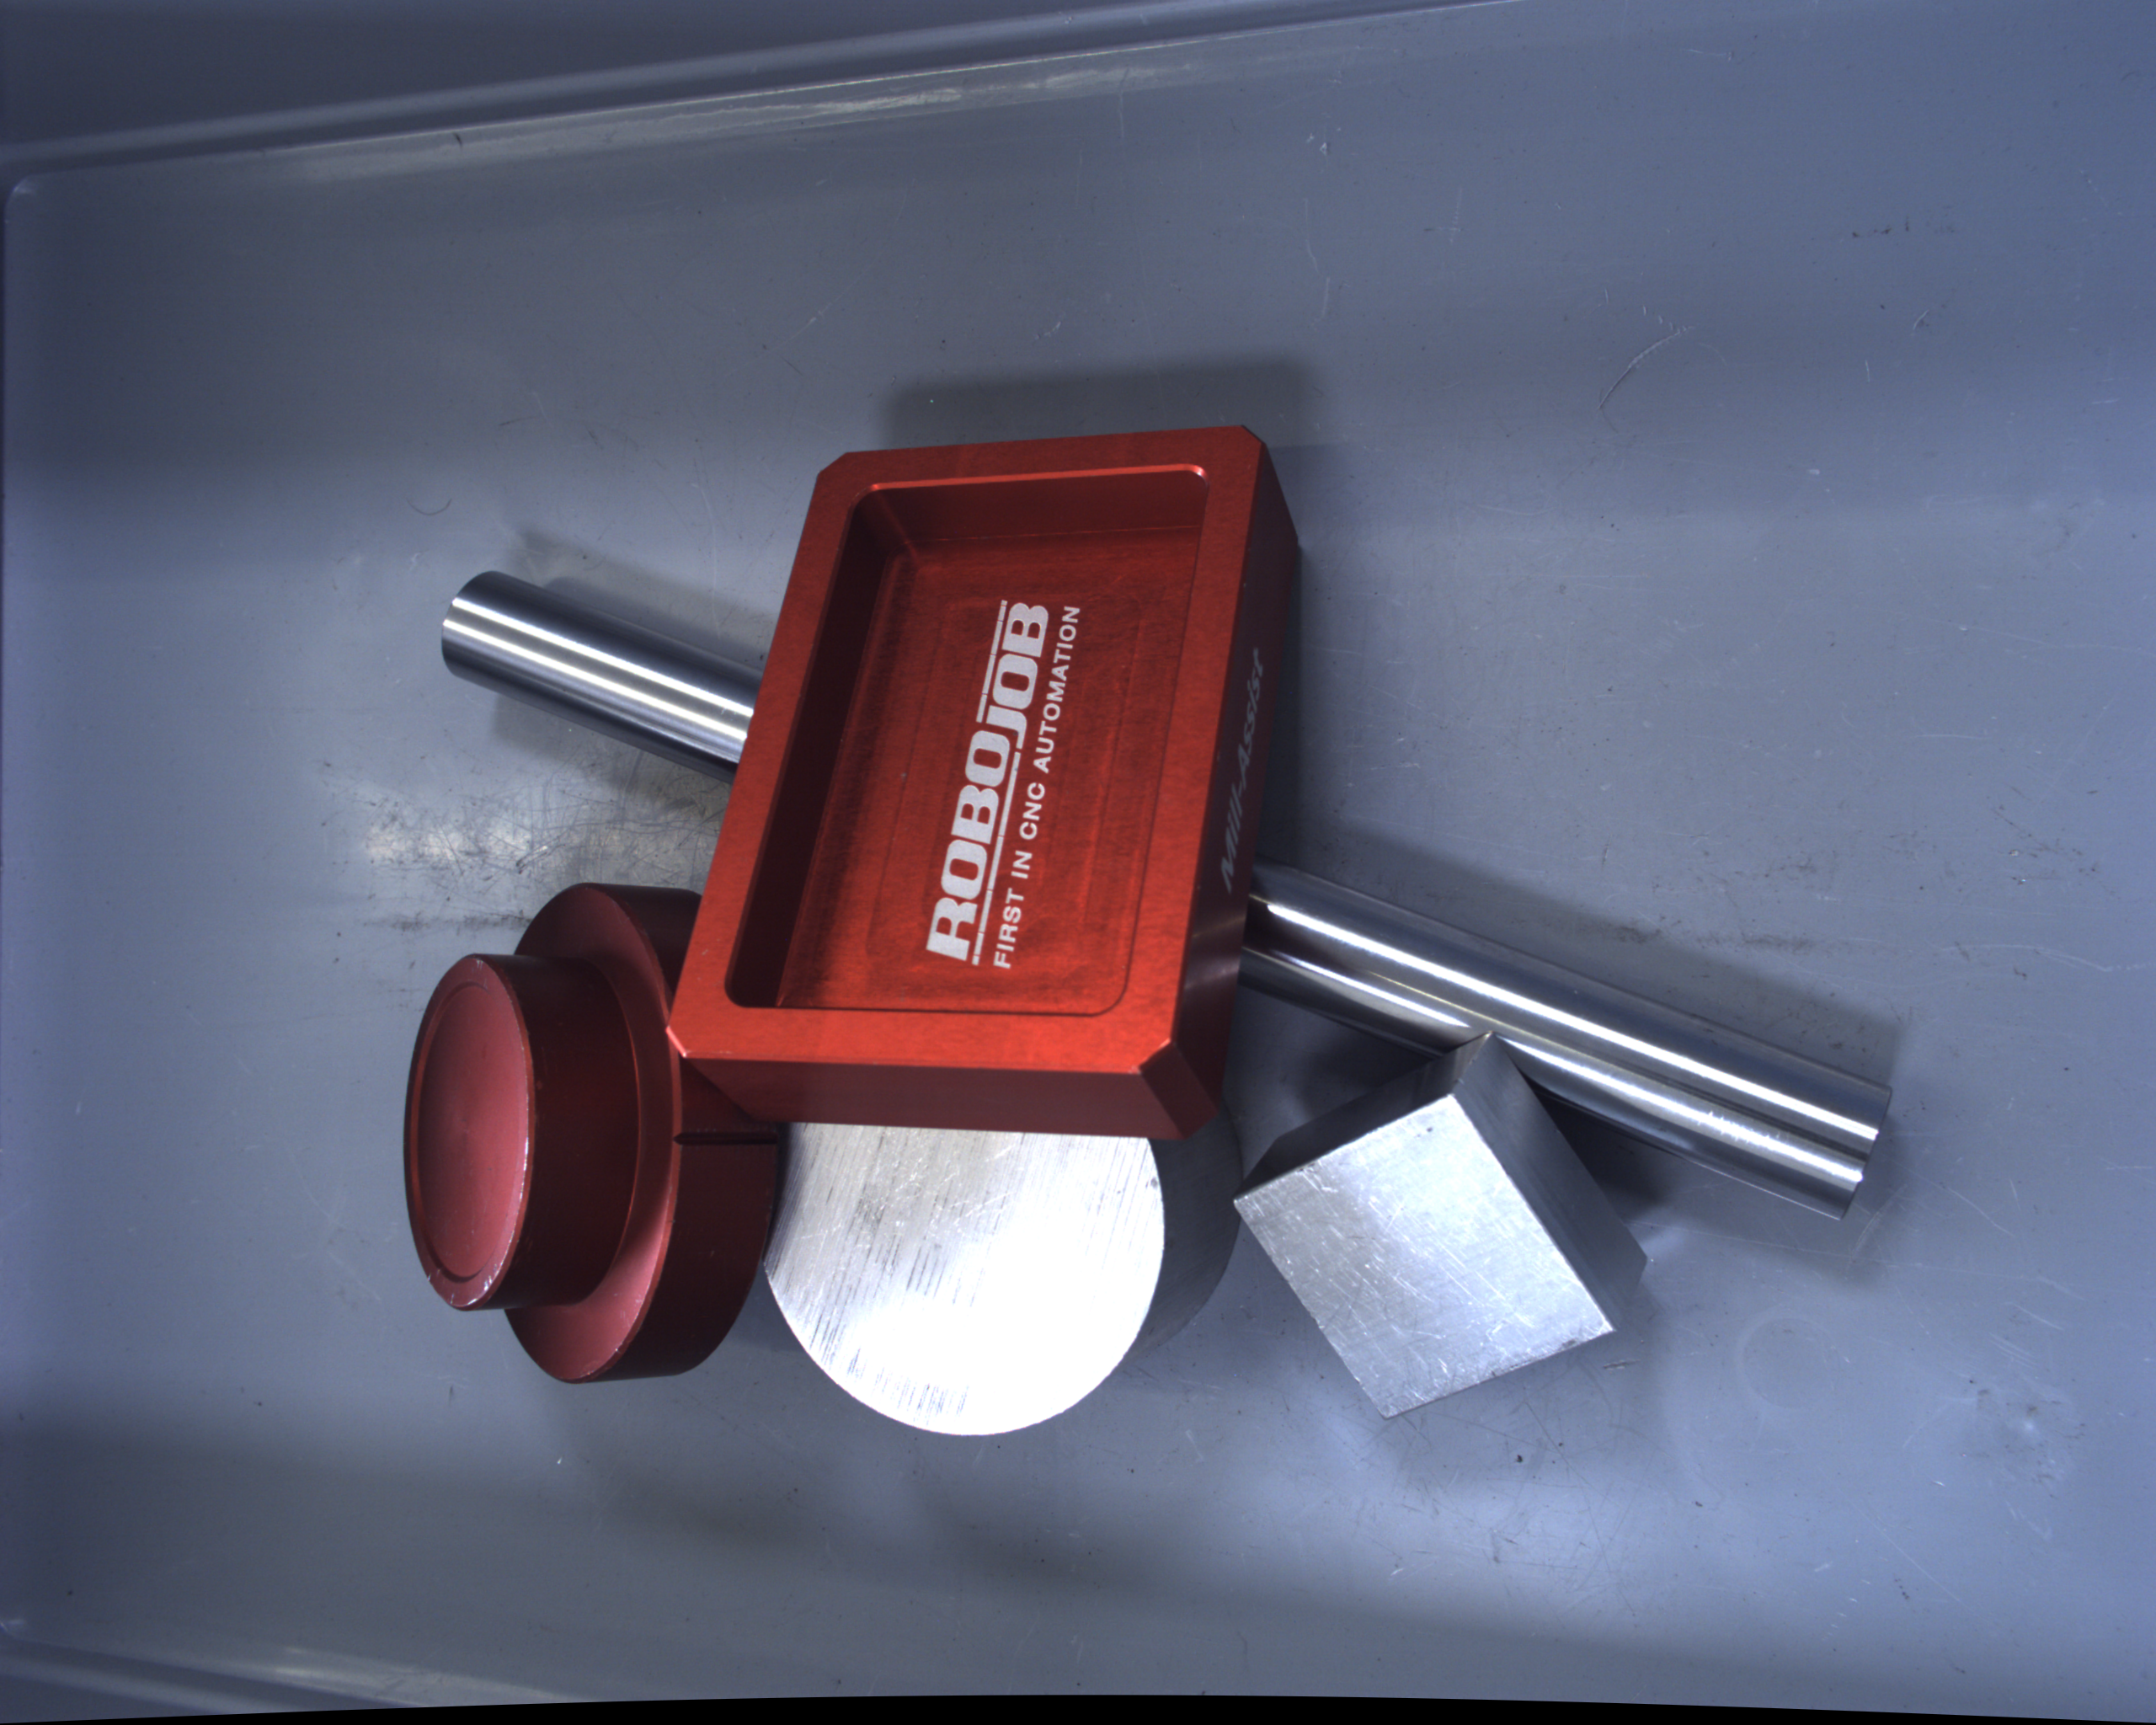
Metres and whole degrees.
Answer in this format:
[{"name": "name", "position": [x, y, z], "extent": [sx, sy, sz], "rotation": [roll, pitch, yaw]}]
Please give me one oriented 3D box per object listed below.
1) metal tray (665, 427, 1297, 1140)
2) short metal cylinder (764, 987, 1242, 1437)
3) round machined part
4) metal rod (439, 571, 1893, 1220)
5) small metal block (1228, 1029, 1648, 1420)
[{"name": "metal tray", "position": [-0.014, -0.017, 0.379], "extent": [0.090, 0.030, 0.130], "rotation": [0, 61, 19]}, {"name": "short metal cylinder", "position": [-0.014, 0.064, 0.400], "extent": [0.080, 0.050, 0.079], "rotation": [0, 90, 20]}, {"name": "round machined part", "position": [-0.100, 0.052, 0.410], "extent": [0.098, 0.042, 0.097], "rotation": [-9, 78, 52]}, {"name": "metal rod", "position": [0.003, -0.001, 0.407], "extent": [0.301, 0.025, 0.025], "rotation": [21, 97, 18]}, {"name": "small metal block", "position": [0.064, 0.065, 0.374], "extent": [0.050, 0.025, 0.050], "rotation": [-33, 95, 33]}]
